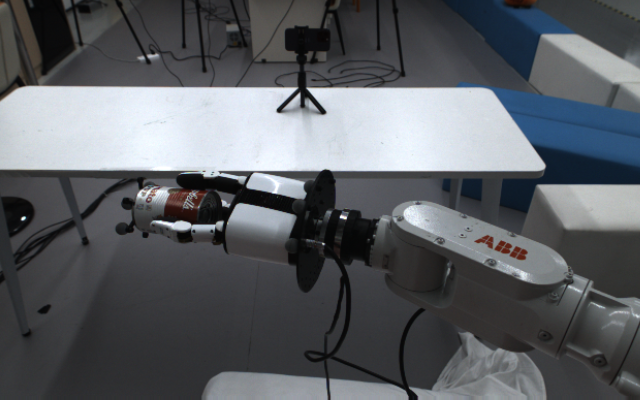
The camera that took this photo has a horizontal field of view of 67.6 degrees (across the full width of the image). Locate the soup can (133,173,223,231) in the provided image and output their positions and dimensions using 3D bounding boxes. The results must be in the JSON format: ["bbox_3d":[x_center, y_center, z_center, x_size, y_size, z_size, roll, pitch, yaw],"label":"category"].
[{"bbox_3d":[-0.194,0.018,0.665,0.101,0.067,0.067,5,34,14],"label":"soup can"}]
